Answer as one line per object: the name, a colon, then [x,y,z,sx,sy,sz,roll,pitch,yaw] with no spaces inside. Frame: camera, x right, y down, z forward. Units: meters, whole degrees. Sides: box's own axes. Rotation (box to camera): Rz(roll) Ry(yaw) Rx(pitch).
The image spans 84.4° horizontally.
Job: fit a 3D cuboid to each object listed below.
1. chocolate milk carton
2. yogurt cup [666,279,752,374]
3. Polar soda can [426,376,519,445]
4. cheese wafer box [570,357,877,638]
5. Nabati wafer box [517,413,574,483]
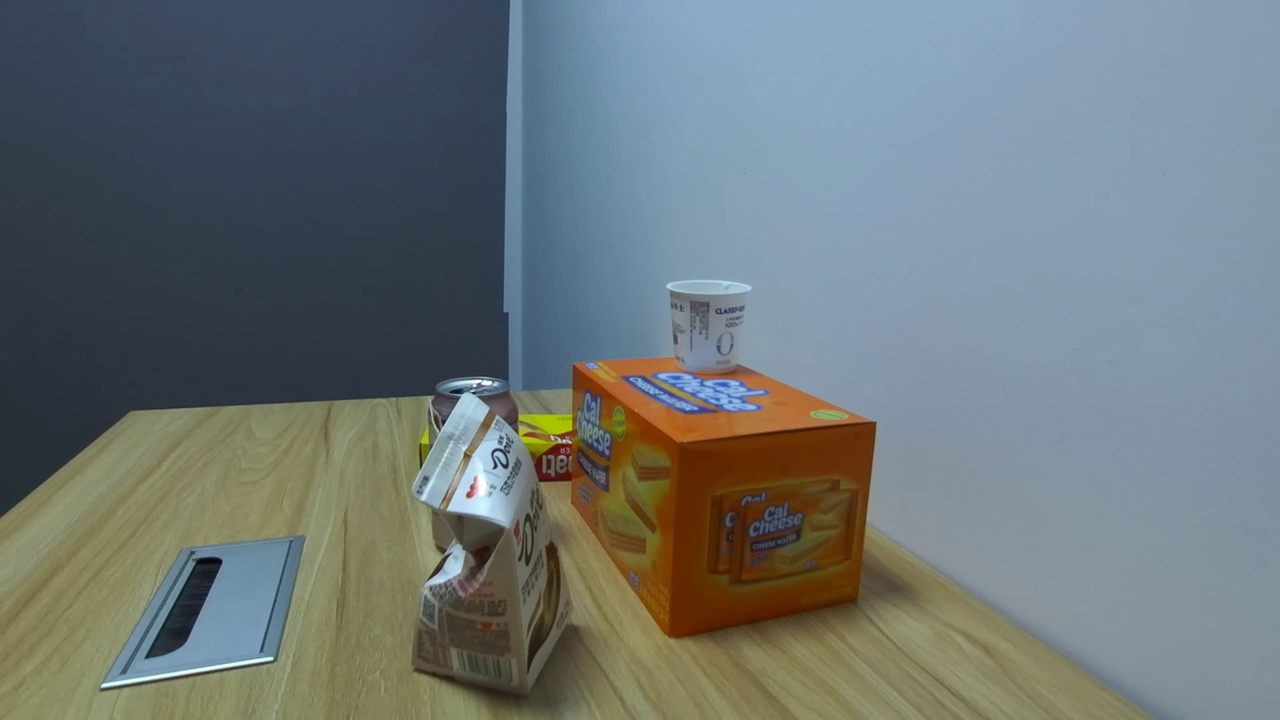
chocolate milk carton: [-0.089,0.102,0.394,0.076,0.155,0.089,0,25,12]
yogurt cup: [0.056,-0.028,0.591,0.072,0.068,0.072,1,15,0]
Polar soda can: [-0.125,0.079,0.545,0.067,0.125,0.067,-1,8,1]
cheese wafer box: [0.048,0.083,0.541,0.149,0.129,0.221,-4,14,-21]
Nabati wafer box: [-0.112,0.087,0.710,0.203,0.042,0.096,-2,12,-8]
